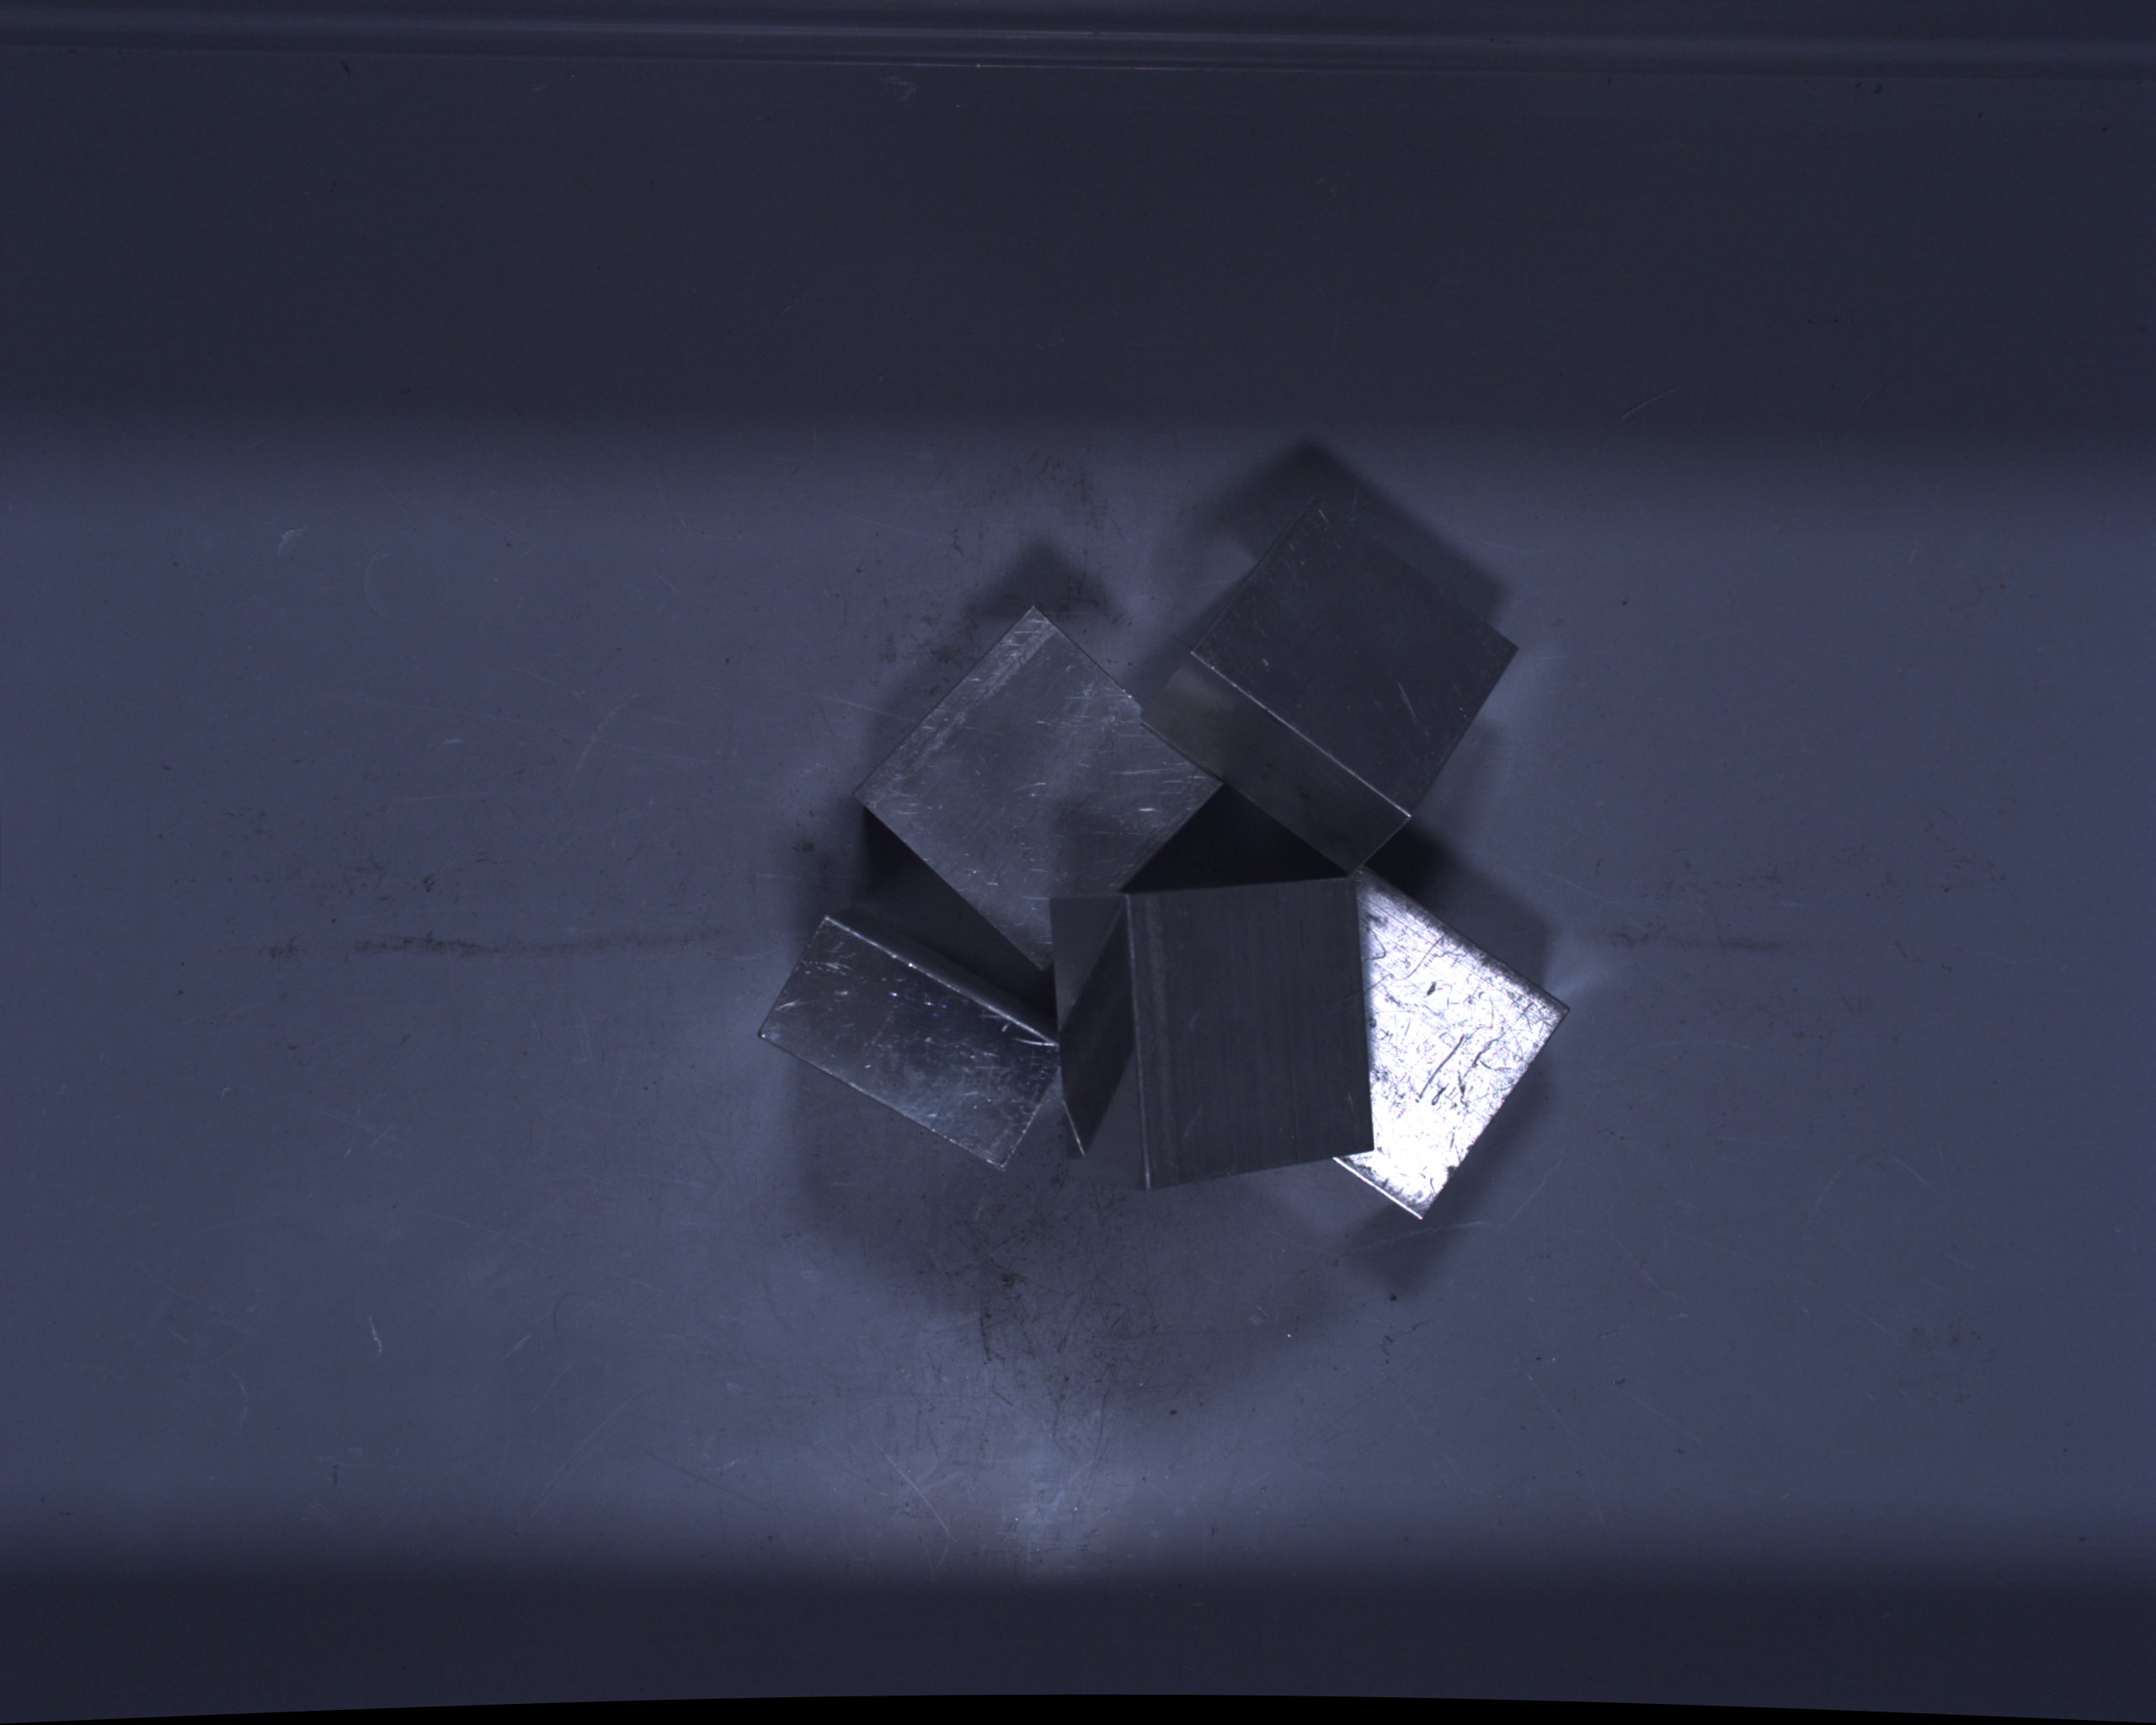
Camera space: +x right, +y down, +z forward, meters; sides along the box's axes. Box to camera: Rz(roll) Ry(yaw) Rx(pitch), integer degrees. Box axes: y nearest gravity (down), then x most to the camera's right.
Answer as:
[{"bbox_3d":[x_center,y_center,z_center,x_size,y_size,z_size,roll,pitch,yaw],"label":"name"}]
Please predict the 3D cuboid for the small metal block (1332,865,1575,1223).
[{"bbox_3d":[0.060,0.034,0.410,0.050,0.025,0.050,35,90,-1],"label":"small metal block"}]

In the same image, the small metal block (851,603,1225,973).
[{"bbox_3d":[-0.008,-0.014,0.409,0.050,0.025,0.050,44,90,-1],"label":"small metal block"}]

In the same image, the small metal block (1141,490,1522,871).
[{"bbox_3d":[0.049,-0.035,0.399,0.050,0.025,0.050,37,57,-1],"label":"small metal block"}]

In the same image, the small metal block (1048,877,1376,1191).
[{"bbox_3d":[0.024,0.029,0.374,0.050,0.025,0.050,-4,90,-33],"label":"small metal block"}]

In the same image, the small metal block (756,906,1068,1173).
[{"bbox_3d":[-0.029,0.032,0.396,0.050,0.050,0.025,29,90,-1],"label":"small metal block"}]
